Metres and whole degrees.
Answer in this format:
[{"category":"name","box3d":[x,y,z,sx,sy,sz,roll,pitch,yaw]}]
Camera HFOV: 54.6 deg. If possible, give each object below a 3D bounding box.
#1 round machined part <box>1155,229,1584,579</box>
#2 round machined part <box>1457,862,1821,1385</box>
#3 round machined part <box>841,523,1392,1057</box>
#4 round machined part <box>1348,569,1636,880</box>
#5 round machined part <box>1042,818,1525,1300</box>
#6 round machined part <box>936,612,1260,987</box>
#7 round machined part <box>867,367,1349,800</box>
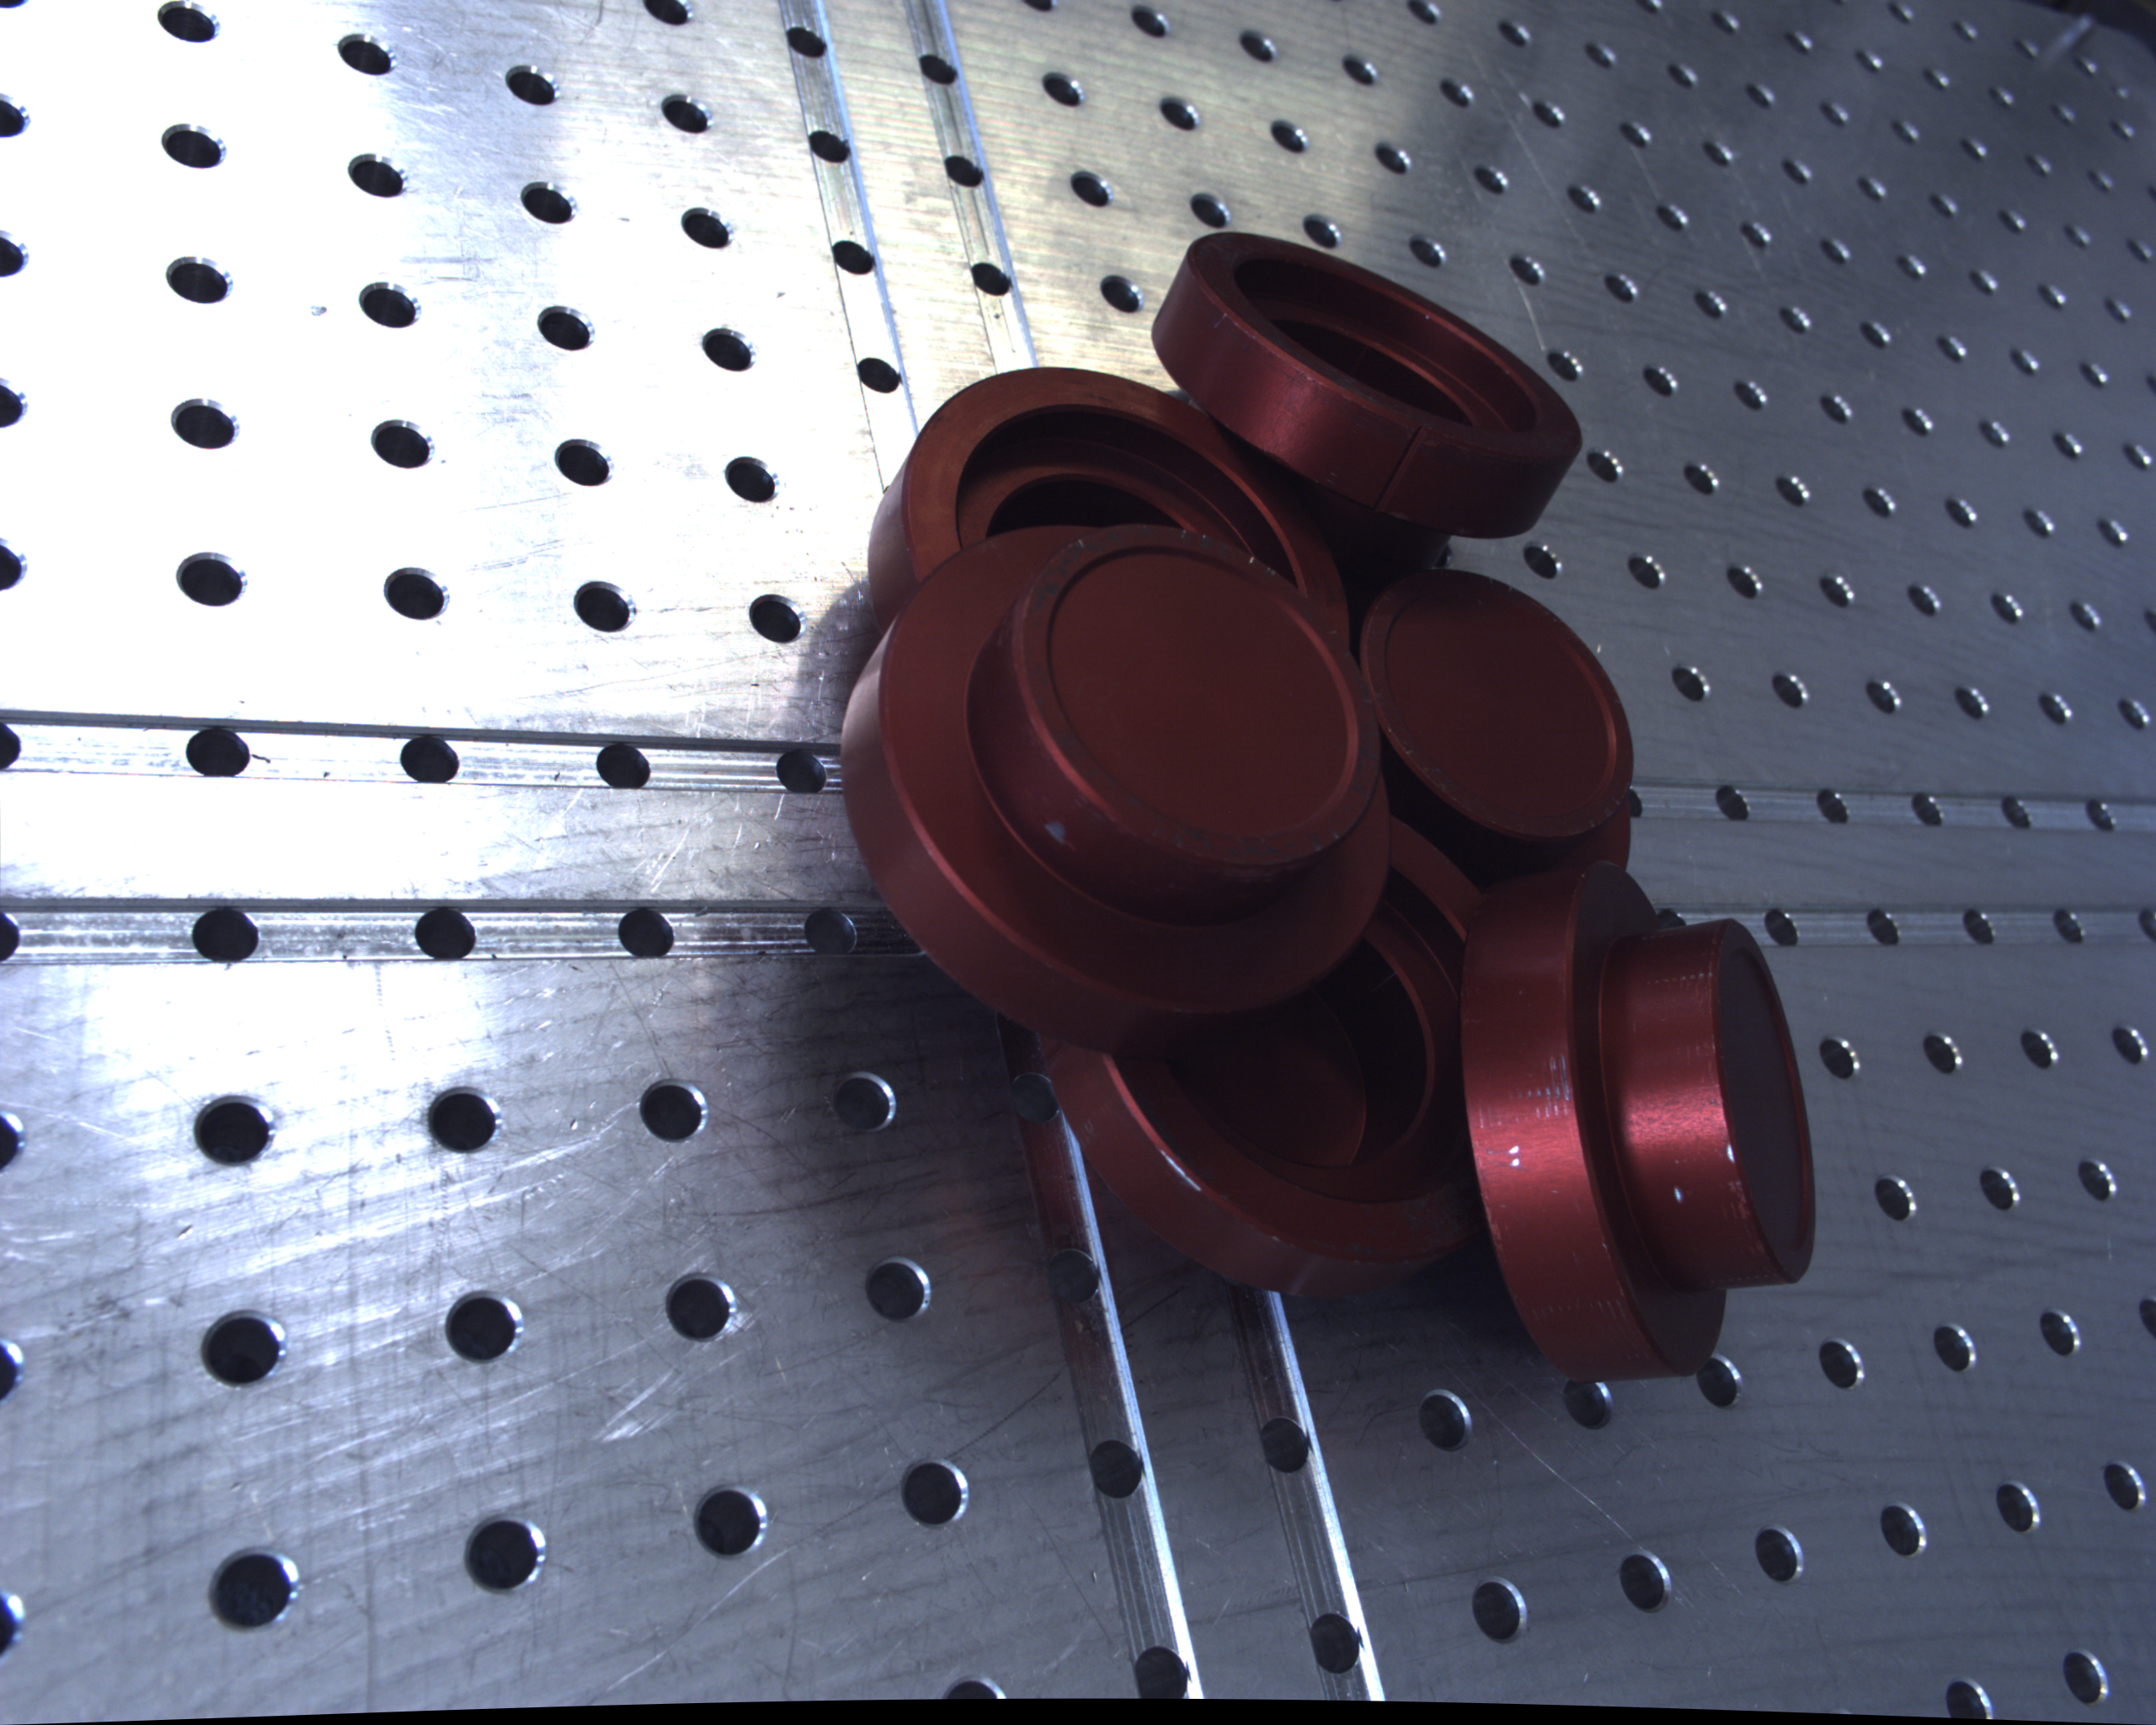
[{"category":"round machined part","box3d":[0.062,-0.101,0.477,0.099,0.042,0.098,20,32,-13]},{"category":"round machined part","box3d":[0.110,0.047,0.395,0.098,0.042,0.098,32,52,-52]},{"category":"round machined part","box3d":[0.013,-0.019,0.361,0.099,0.042,0.098,13,56,-21]},{"category":"round machined part","box3d":[0.081,-0.024,0.455,0.099,0.042,0.098,13,56,-21]},{"category":"round machined part","box3d":[0.037,0.036,0.395,0.099,0.042,0.098,13,56,-21]},{"category":"round machined part","box3d":[0.007,-0.012,0.407,0.099,0.042,0.098,13,56,-21]},{"category":"round machined part","box3d":[0.003,-0.050,0.429,0.099,0.042,0.098,13,56,-21]}]
